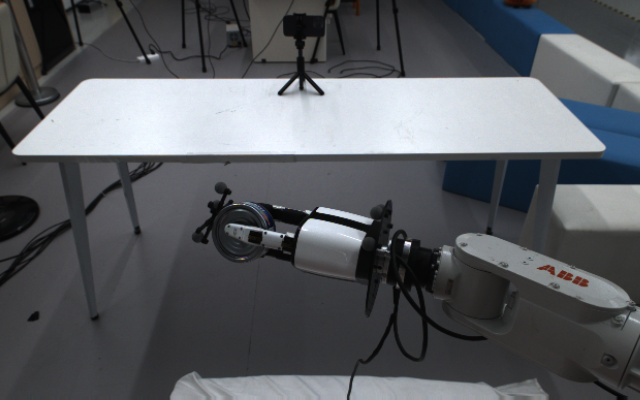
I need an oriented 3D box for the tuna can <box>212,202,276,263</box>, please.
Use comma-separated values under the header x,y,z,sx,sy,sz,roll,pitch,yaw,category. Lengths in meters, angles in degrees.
x,y,z,sx,sy,sz,roll,pitch,yaw,category
-0.105,0.048,0.682,0.085,0.085,0.034,9,6,9,tuna can
